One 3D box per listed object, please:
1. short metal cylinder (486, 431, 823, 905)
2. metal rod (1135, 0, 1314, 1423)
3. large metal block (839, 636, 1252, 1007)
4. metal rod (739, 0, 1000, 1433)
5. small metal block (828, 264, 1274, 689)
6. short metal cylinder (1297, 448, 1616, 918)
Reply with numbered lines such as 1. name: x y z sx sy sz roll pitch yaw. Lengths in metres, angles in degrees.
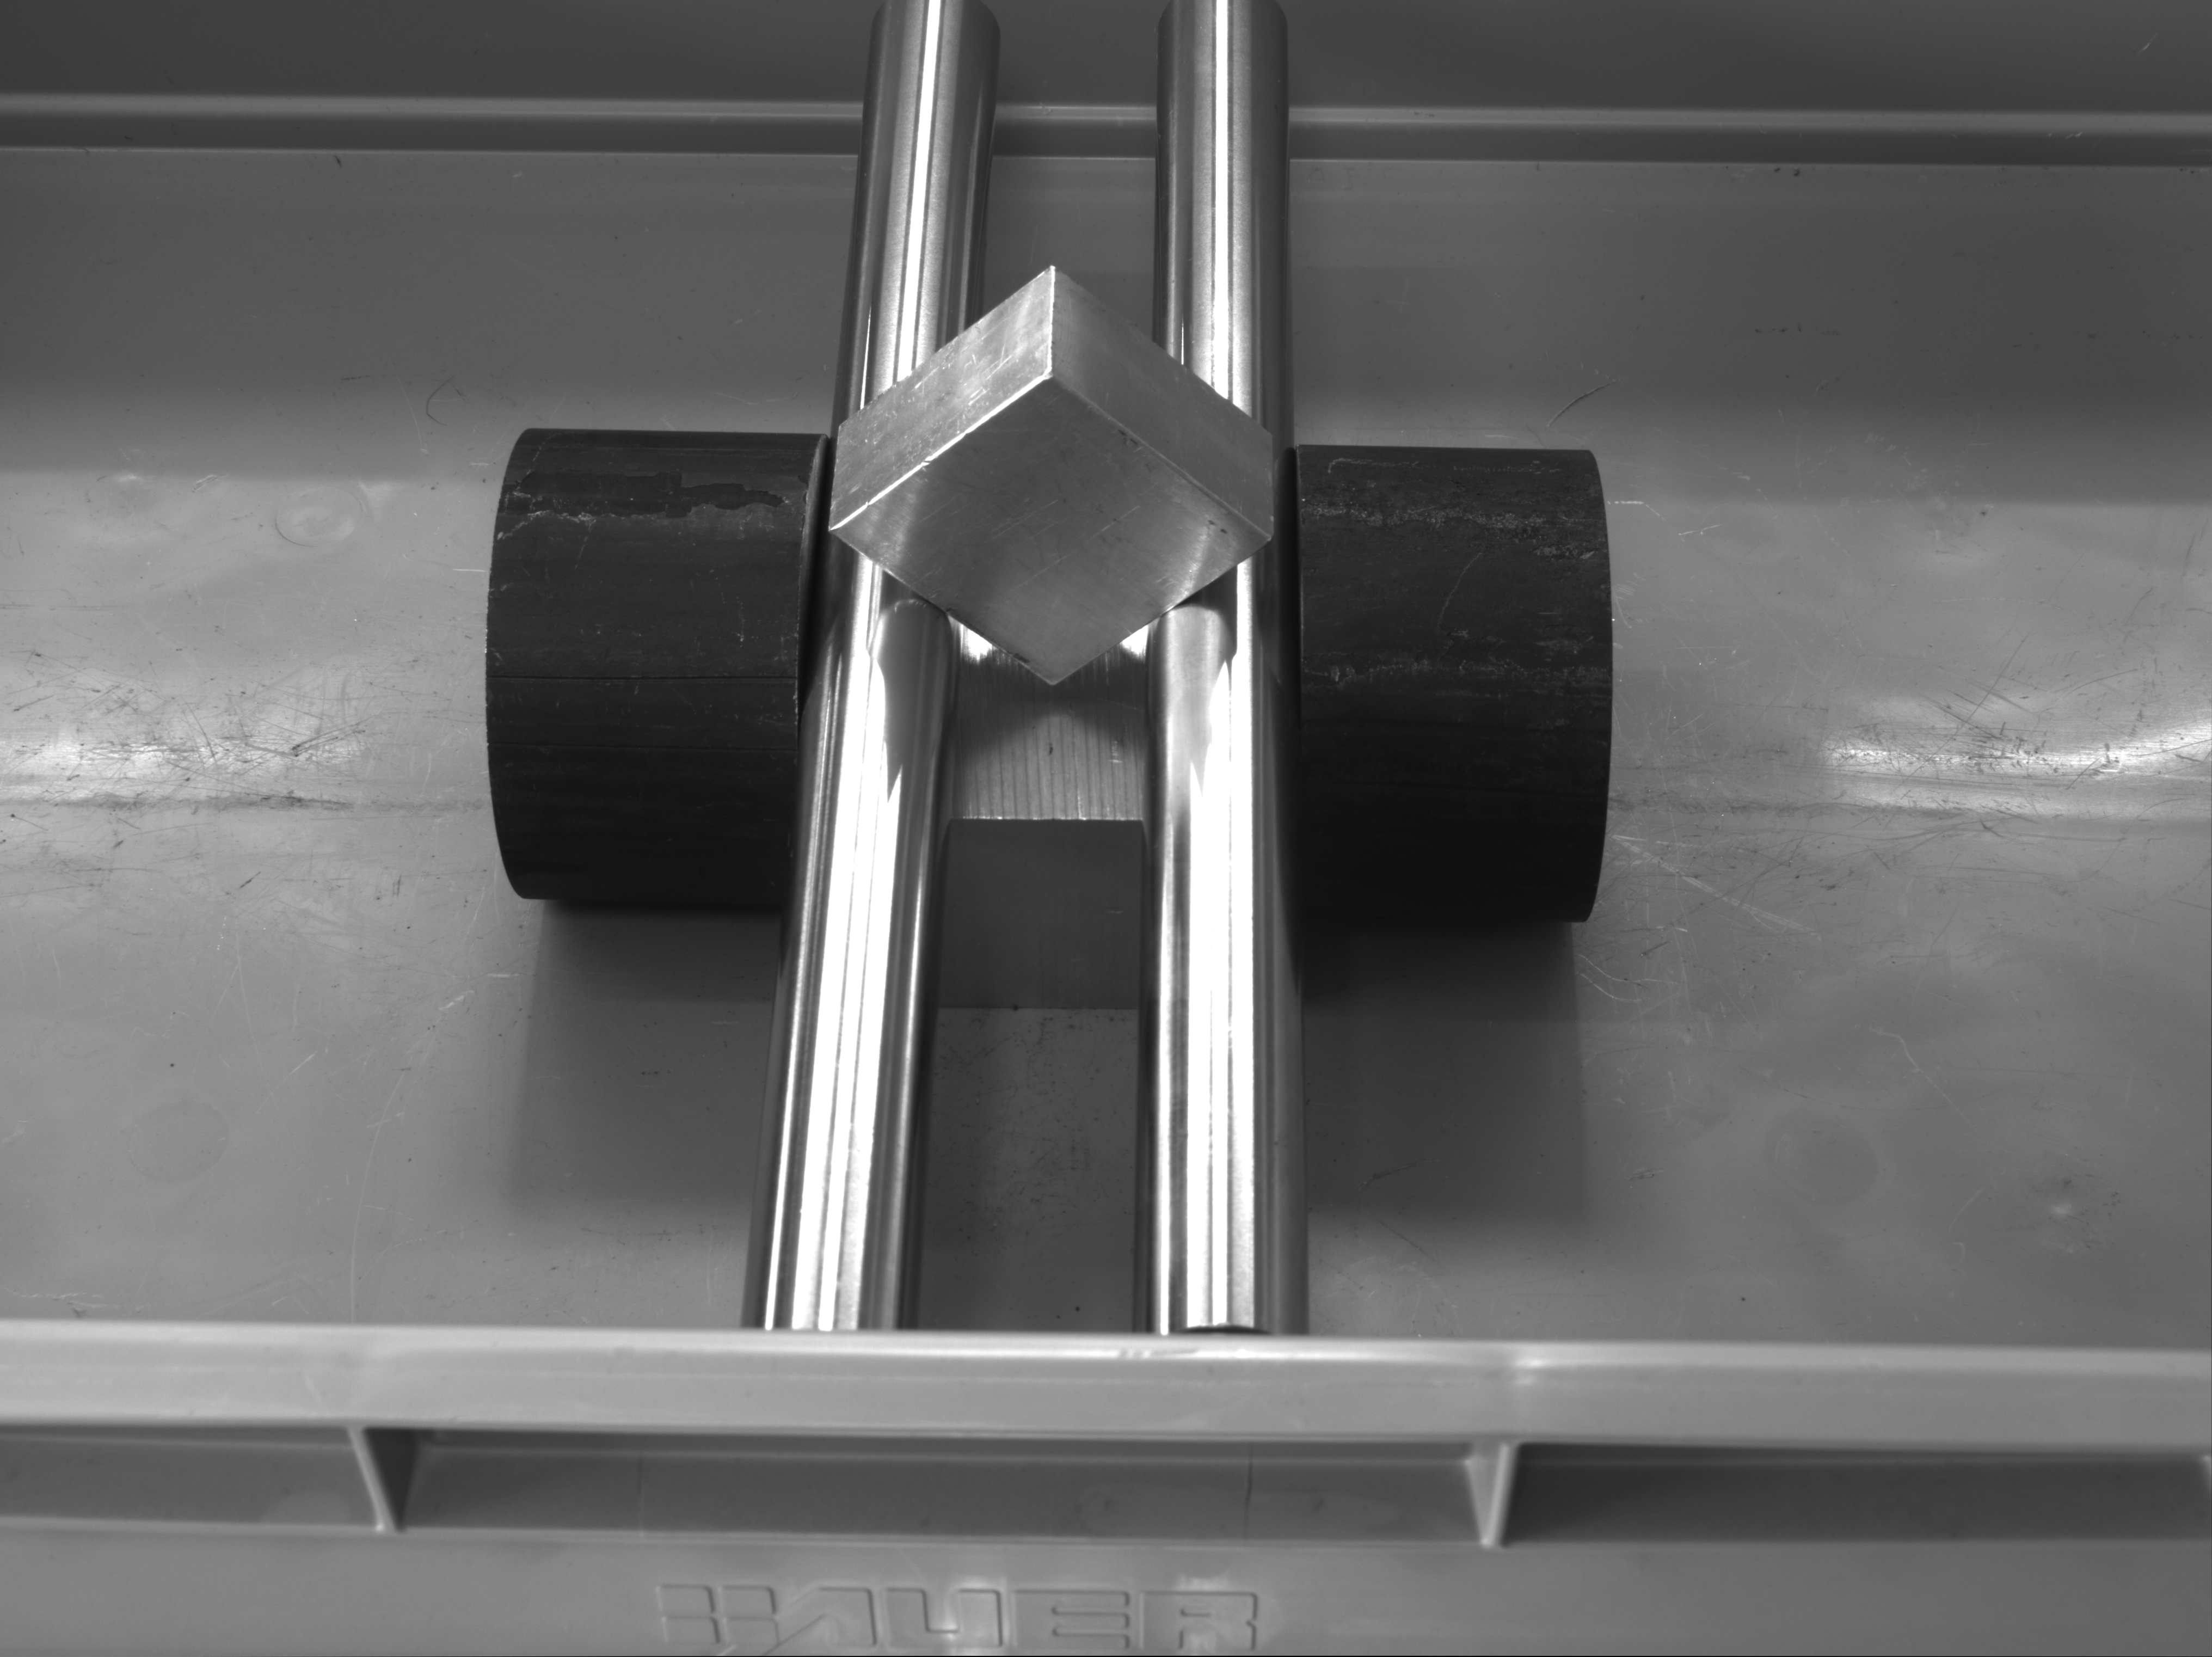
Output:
1. short metal cylinder: -0.074 -0.027 0.628 0.050 0.080 0.080 1 50 1
2. metal rod: 0.019 -0.038 0.608 0.025 0.025 0.300 1 50 1
3. large metal block: -0.008 -0.016 0.638 0.080 0.050 0.080 1 50 1
4. metal rod: -0.036 -0.037 0.607 0.025 0.025 0.300 1 50 1
5. small metal block: -0.008 -0.055 0.589 0.050 0.050 0.025 -32 40 33
6. short metal cylinder: 0.057 -0.025 0.625 0.050 0.080 0.080 0 50 1
